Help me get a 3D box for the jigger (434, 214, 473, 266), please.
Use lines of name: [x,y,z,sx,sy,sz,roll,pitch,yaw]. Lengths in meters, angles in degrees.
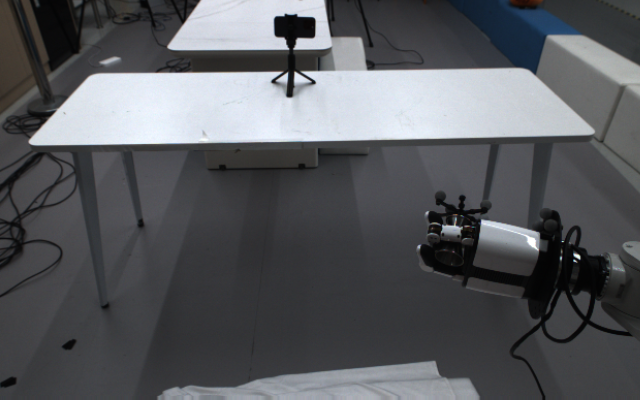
jigger: [0.207,0.059,0.737,0.043,0.043,0.071,13,58,15]
